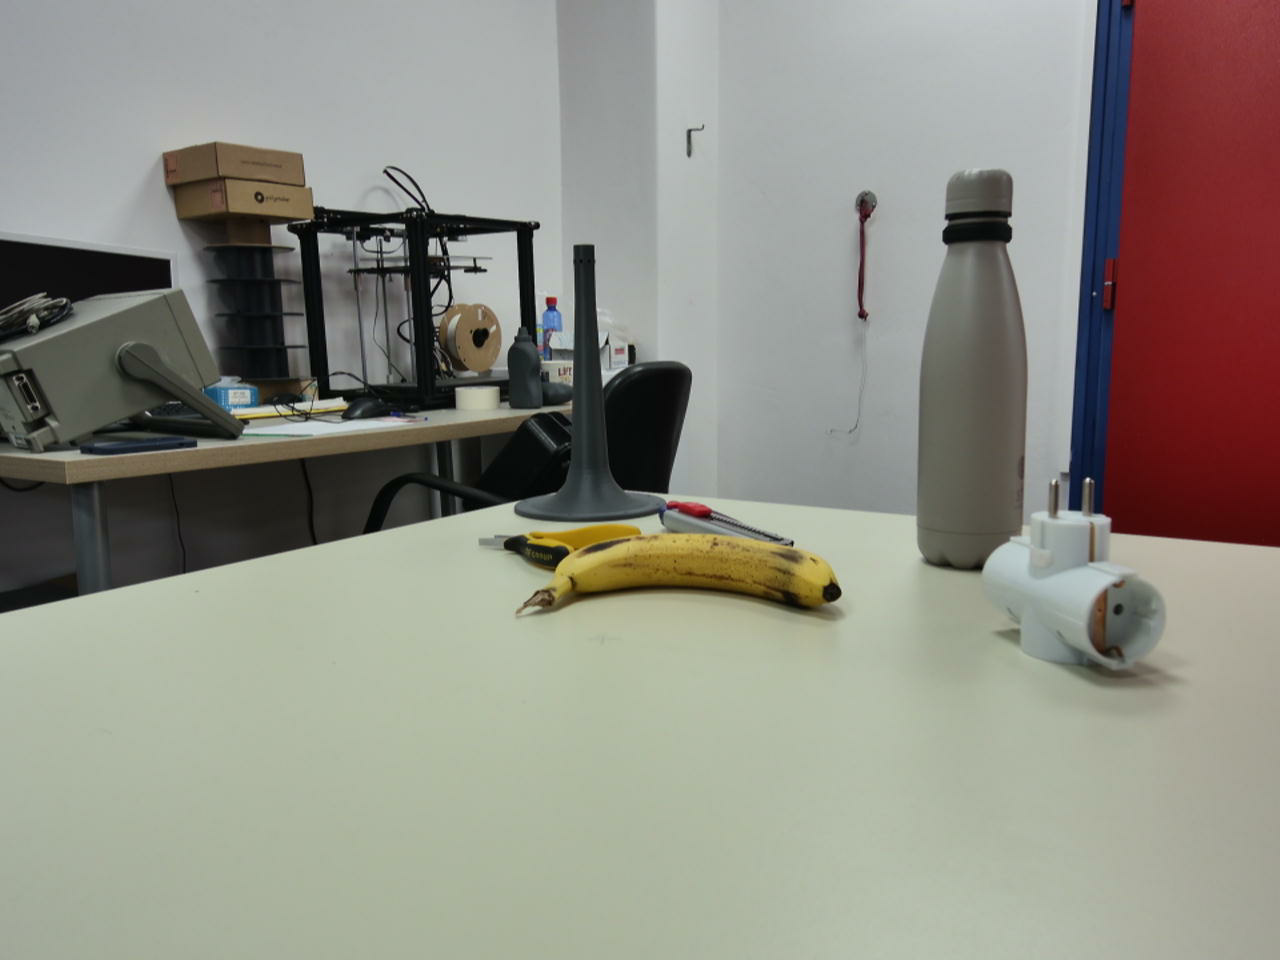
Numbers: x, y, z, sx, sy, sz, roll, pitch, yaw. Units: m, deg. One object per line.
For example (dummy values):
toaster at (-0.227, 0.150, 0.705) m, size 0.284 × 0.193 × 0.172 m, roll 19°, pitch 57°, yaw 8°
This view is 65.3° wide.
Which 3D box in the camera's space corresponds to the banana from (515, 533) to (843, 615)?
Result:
banana at (0.031, 0.058, 0.633) m, size 0.186 × 0.038 × 0.097 m, roll 1°, pitch 6°, yaw 7°
